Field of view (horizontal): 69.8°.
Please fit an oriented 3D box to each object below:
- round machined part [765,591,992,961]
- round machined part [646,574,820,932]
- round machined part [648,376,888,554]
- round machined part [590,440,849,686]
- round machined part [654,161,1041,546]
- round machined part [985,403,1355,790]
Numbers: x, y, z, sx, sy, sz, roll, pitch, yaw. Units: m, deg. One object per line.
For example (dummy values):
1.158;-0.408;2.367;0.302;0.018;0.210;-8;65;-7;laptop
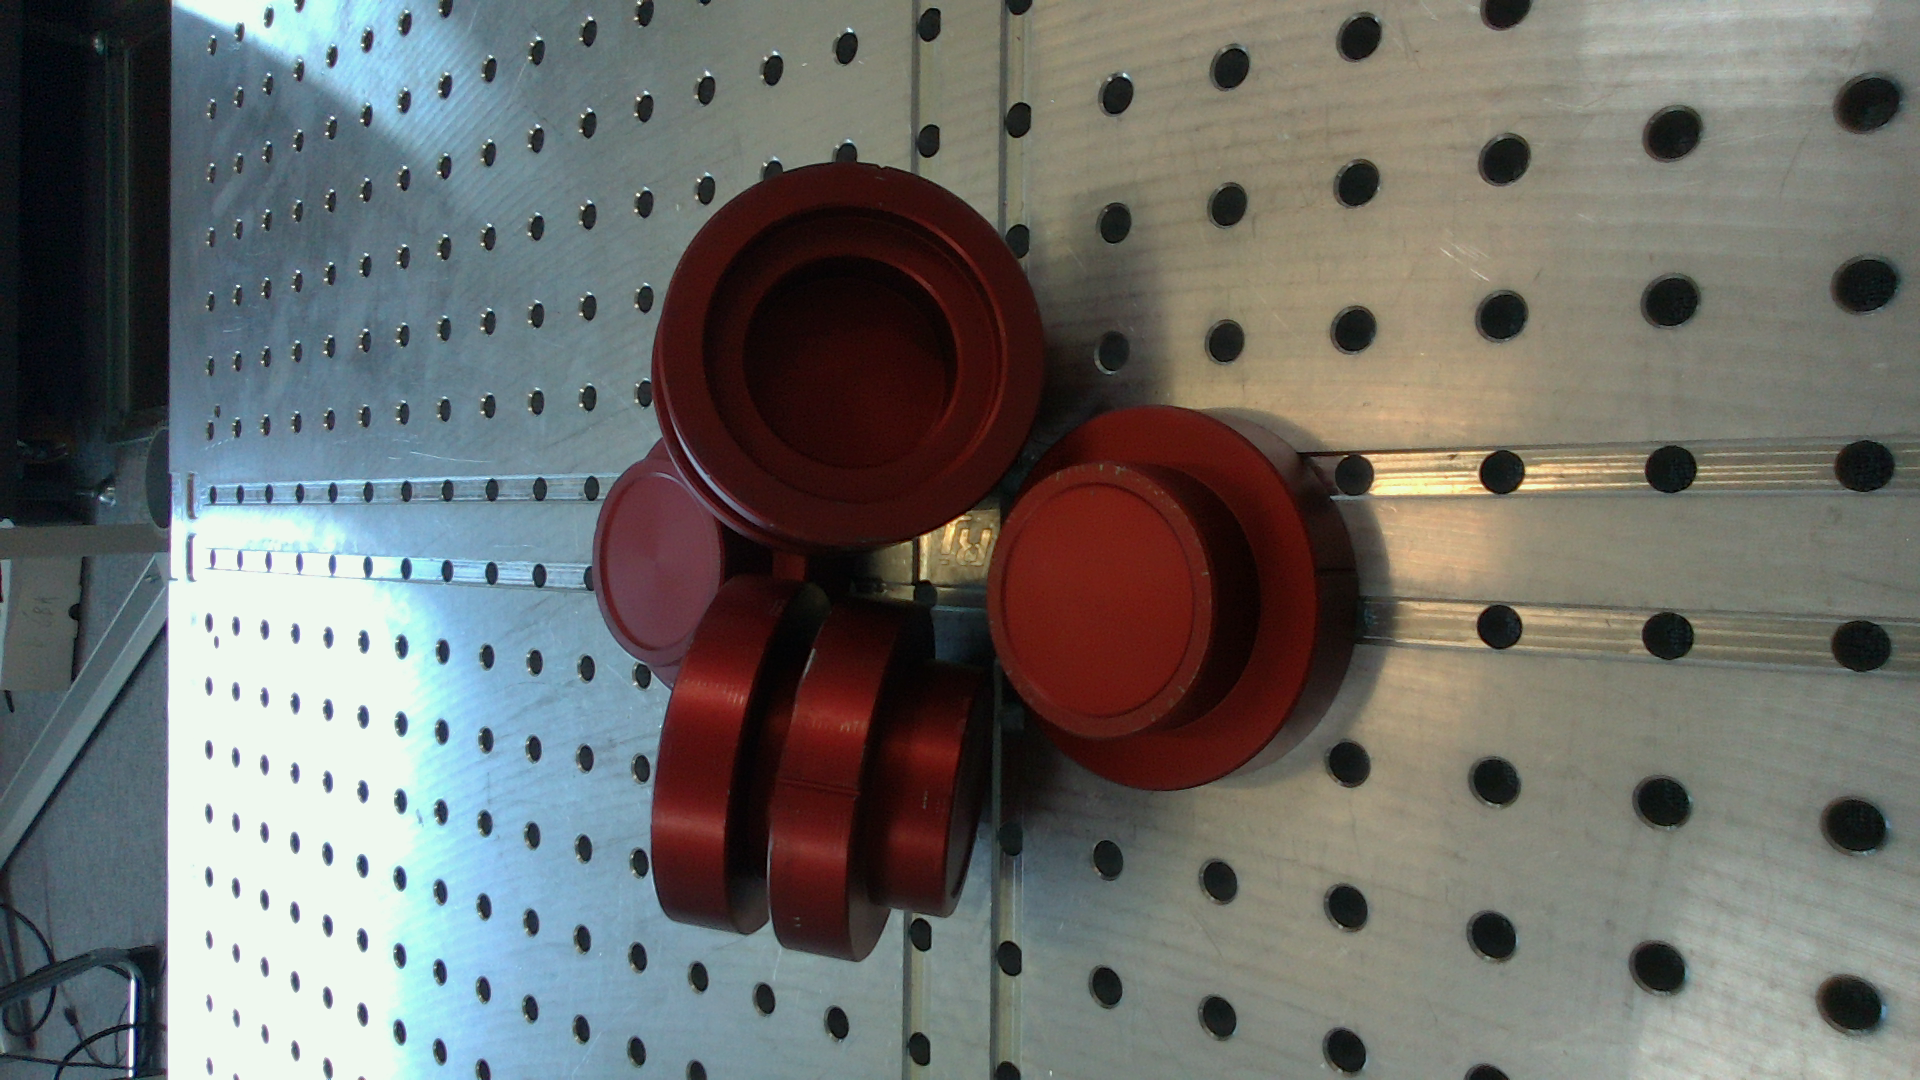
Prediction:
-0.018;0.065;0.377;0.042;0.098;0.098;9;97;8;round machined part
-0.049;0.060;0.385;0.042;0.098;0.098;8;96;8;round machined part
-0.039;-0.044;0.398;0.042;0.098;0.098;156;109;-79;round machined part
-0.086;0.006;0.459;0.098;0.042;0.098;0;90;40;round machined part
-0.031;-0.046;0.367;0.042;0.098;0.098;156;109;-79;round machined part
0.045;0.014;0.349;0.098;0.042;0.098;0;90;40;round machined part
